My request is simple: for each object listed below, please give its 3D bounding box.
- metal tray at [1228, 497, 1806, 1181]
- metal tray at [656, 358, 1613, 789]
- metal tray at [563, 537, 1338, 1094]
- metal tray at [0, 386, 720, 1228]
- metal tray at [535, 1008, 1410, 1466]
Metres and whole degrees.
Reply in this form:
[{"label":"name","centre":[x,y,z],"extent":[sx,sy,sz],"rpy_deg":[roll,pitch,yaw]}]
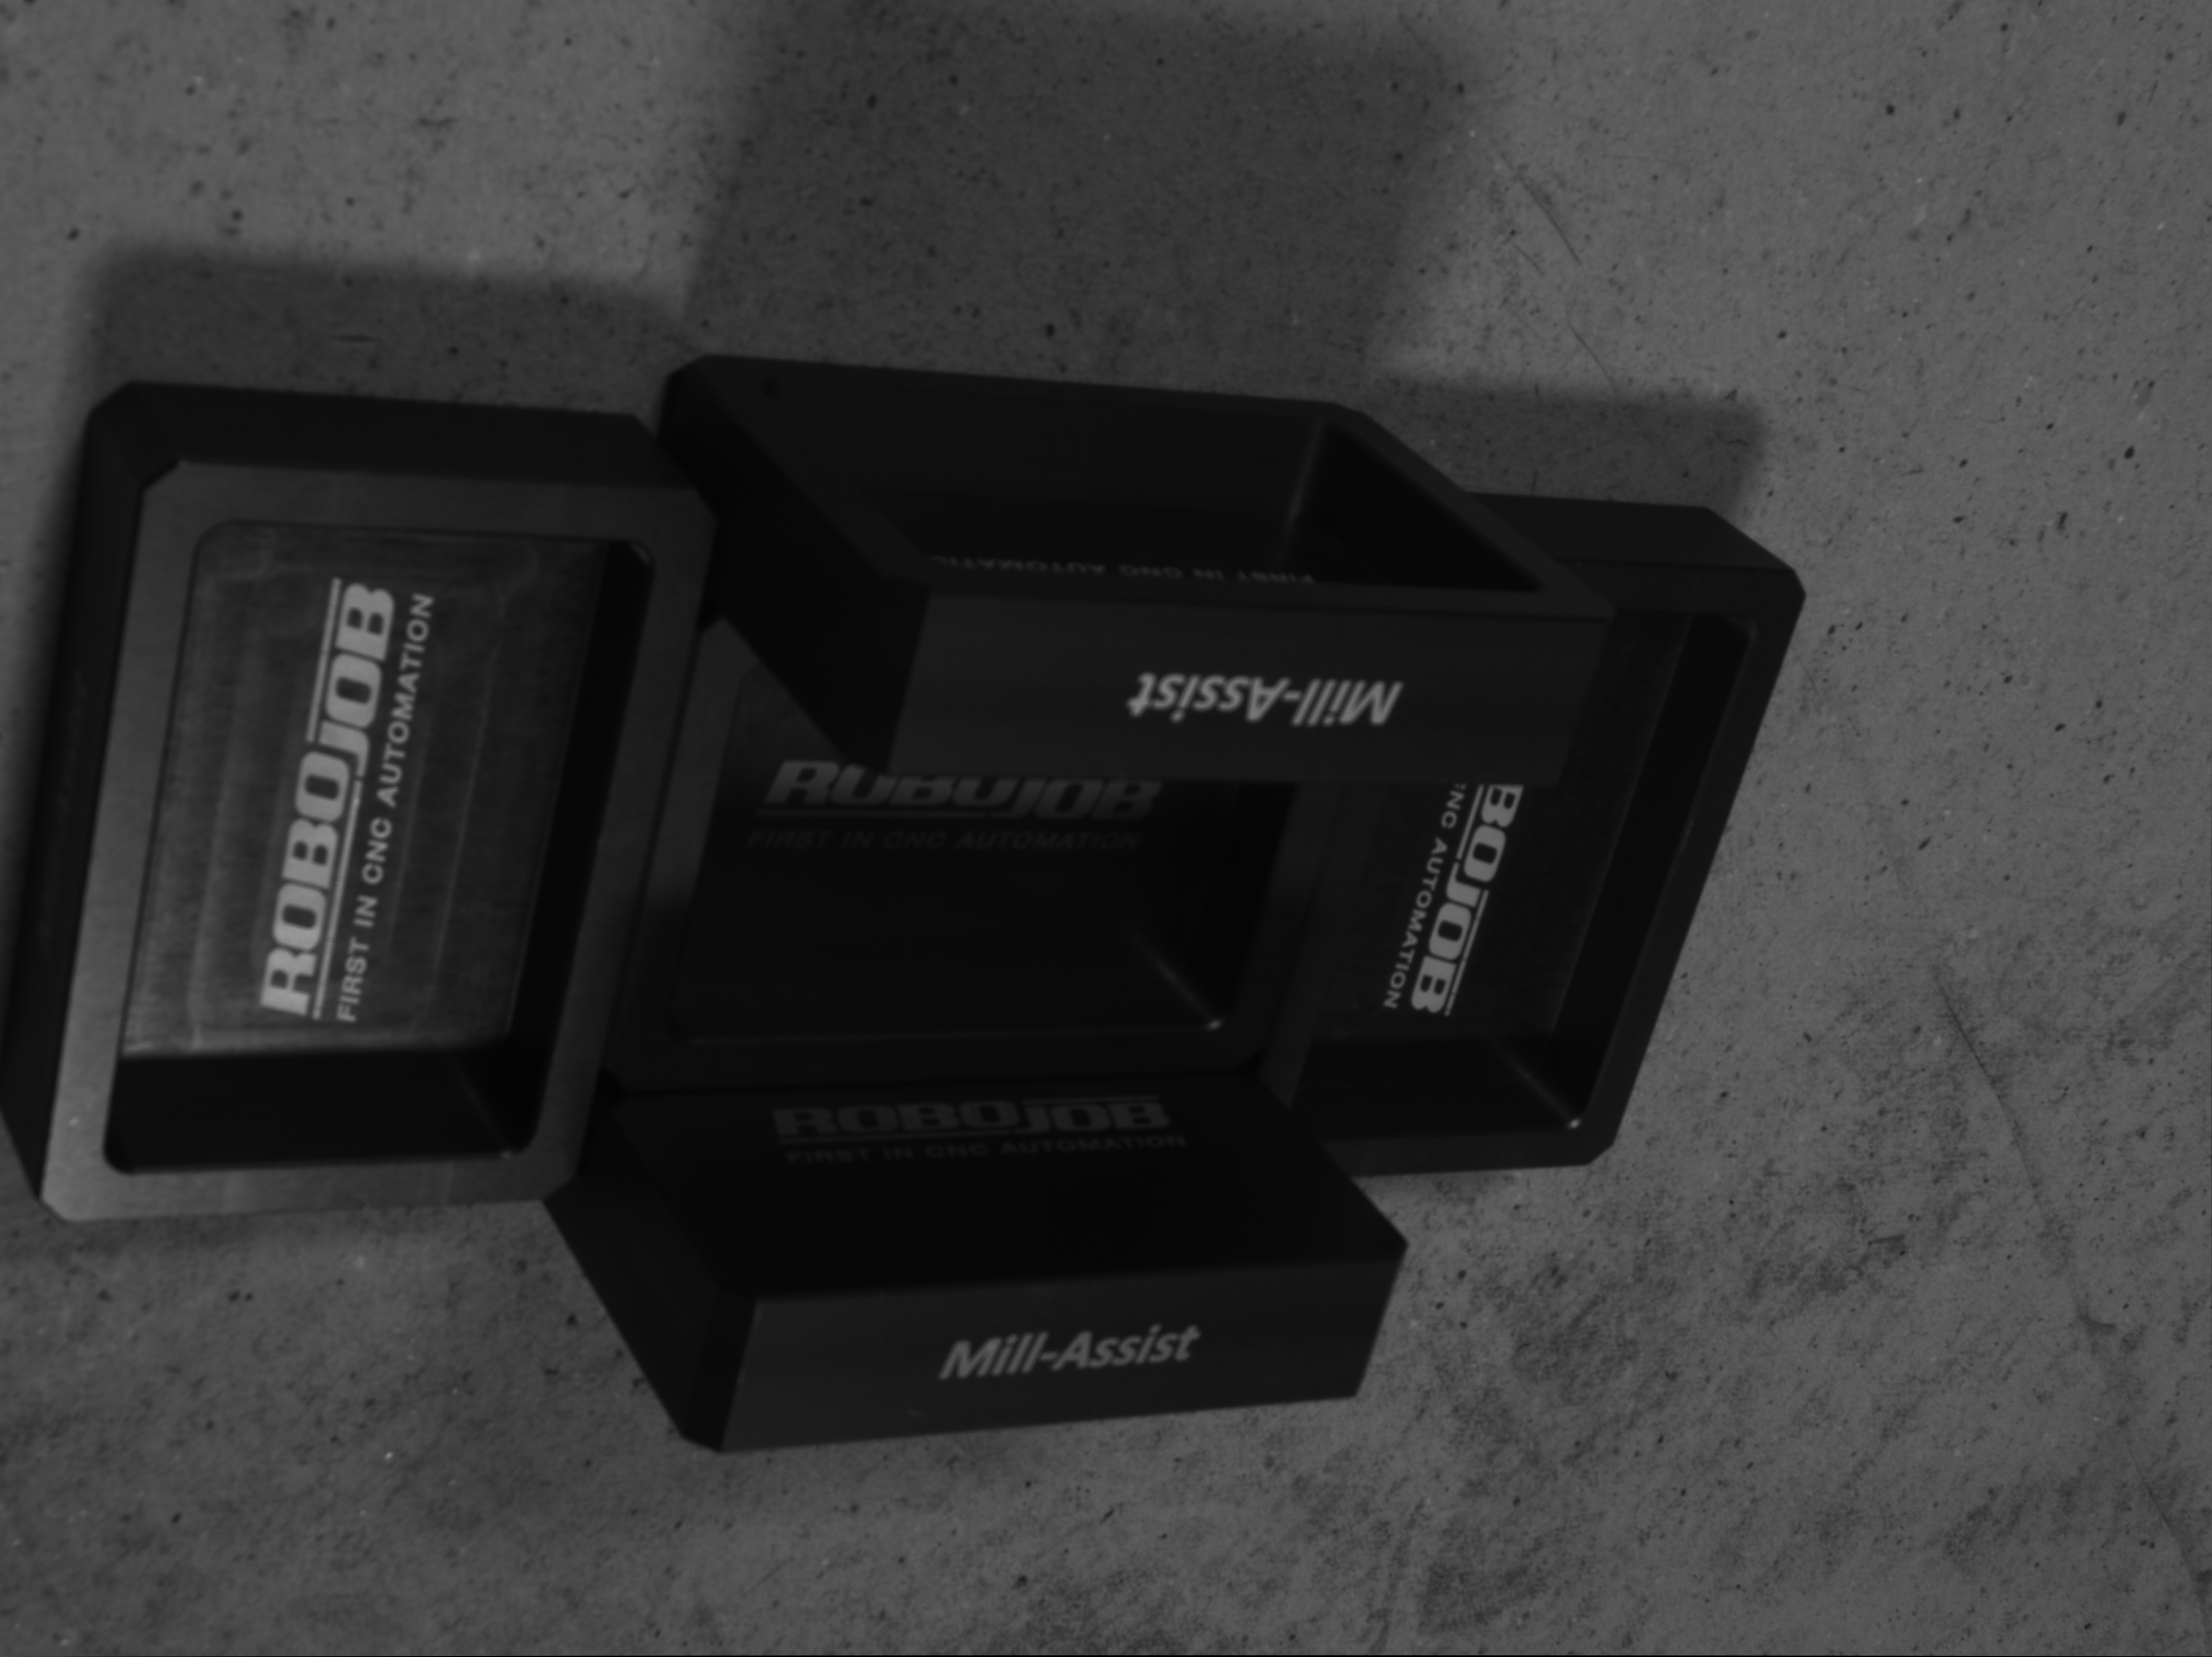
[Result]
[{"label":"metal tray","centre":[0.070,0.004,0.691],"extent":[0.090,0.030,0.130],"rpy_deg":[1,118,-31]},{"label":"metal tray","centre":[0.003,-0.041,0.586],"extent":[0.130,0.090,0.030],"rpy_deg":[0,118,-30]},{"label":"metal tray","centre":[-0.024,-0.001,0.633],"extent":[0.130,0.030,0.090],"rpy_deg":[1,118,-31]},{"label":"metal tray","centre":[-0.119,-0.001,0.577],"extent":[0.090,0.030,0.130],"rpy_deg":[1,118,-31]},{"label":"metal tray","centre":[-0.025,0.067,0.633],"extent":[0.130,0.090,0.030],"rpy_deg":[0,118,-30]}]
